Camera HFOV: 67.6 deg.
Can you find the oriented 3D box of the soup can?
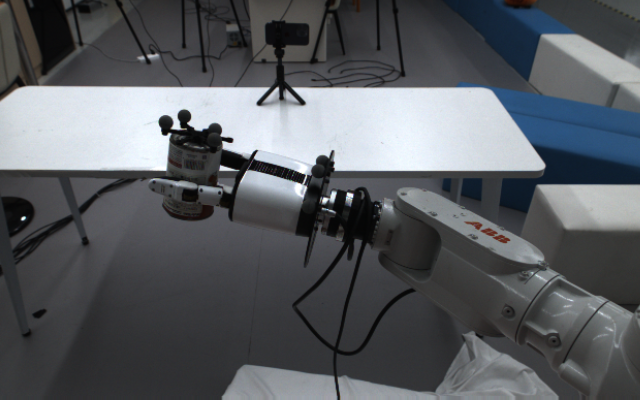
[{"bbox_3d":[-0.167,-0.031,0.634,0.067,0.101,0.067,12,25,-6],"label":"soup can"}]
